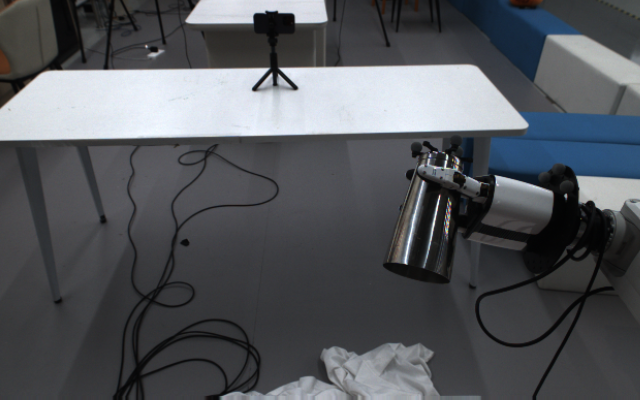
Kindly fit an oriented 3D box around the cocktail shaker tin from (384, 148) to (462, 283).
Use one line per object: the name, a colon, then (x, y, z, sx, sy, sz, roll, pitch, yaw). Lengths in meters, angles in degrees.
cocktail shaker tin: (0.153, 0.018, 0.680, 0.093, 0.093, 0.170, 13, 72, 15)
